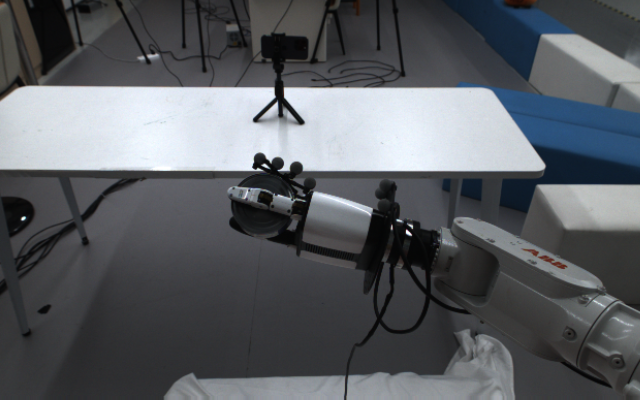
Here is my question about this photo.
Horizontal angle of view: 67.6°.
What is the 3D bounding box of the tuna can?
[{"bbox_3d":[-0.076,0.008,0.662,0.085,0.034,0.085,0,72,0],"label":"tuna can"}]
